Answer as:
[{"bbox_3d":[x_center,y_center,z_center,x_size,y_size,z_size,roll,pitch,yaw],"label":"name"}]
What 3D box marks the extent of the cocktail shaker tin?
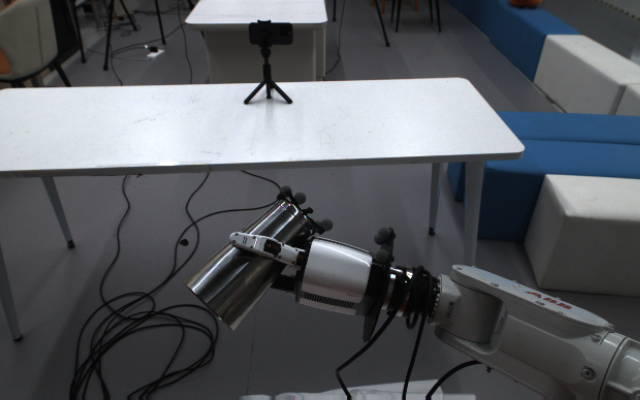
[{"bbox_3d":[-0.089,0.076,0.651,0.093,0.093,0.170,32,66,35],"label":"cocktail shaker tin"}]
